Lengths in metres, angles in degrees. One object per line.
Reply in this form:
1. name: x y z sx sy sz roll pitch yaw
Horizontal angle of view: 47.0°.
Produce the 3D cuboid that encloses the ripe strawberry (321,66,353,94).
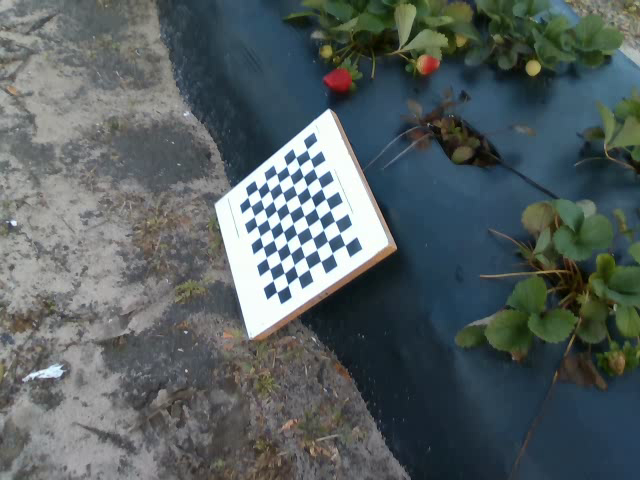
1. ripe strawberry: 0.021 -0.267 1.174 0.054 0.042 0.045 -9 8 -44
